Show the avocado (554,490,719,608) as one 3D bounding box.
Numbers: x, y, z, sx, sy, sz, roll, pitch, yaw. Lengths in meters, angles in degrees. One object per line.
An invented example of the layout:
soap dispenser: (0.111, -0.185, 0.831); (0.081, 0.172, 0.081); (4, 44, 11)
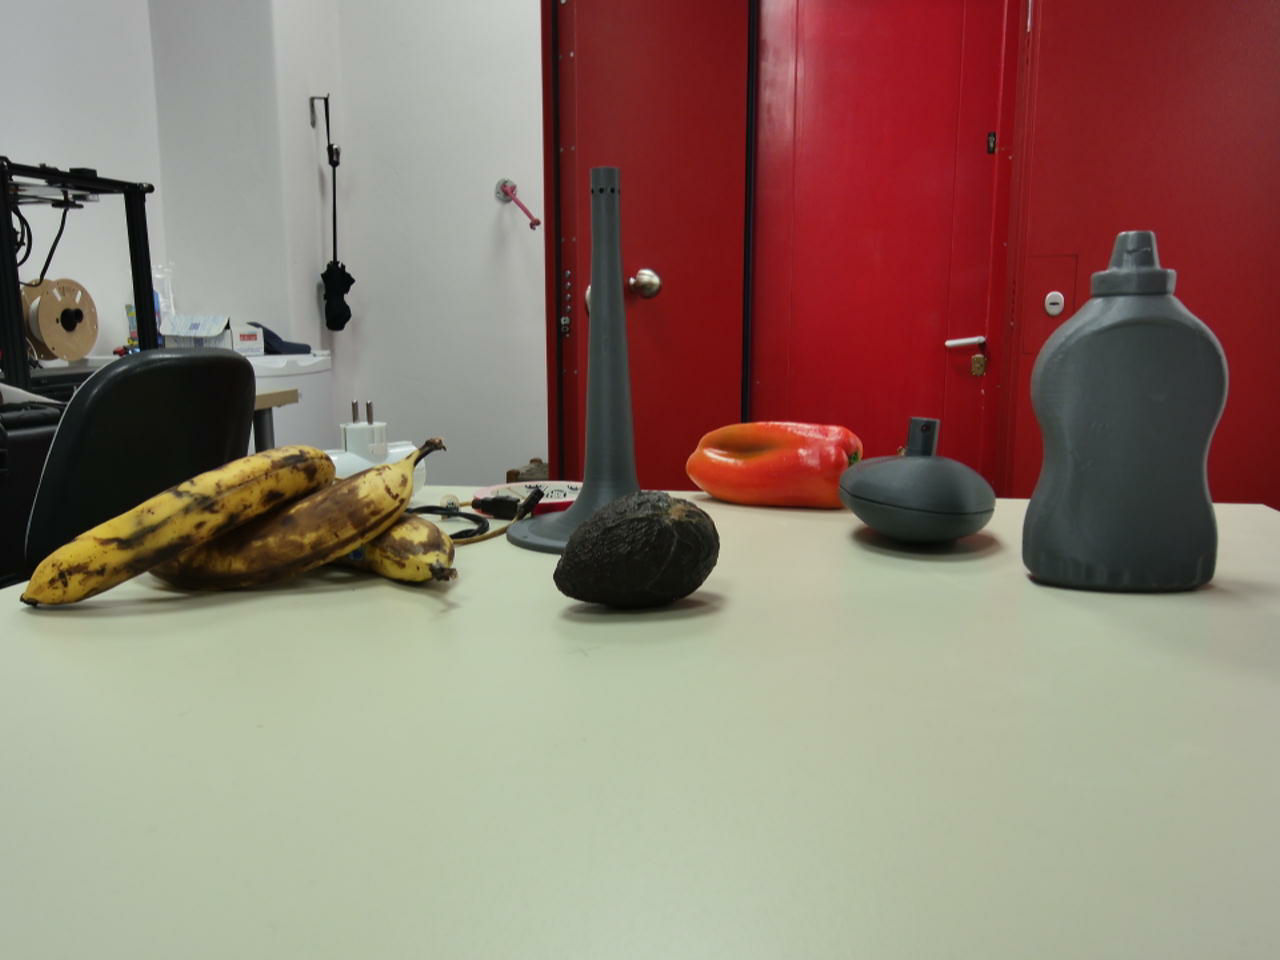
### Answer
avocado: (-0.002, 0.037, 0.540); (0.092, 0.062, 0.062); (-1, 7, -12)
